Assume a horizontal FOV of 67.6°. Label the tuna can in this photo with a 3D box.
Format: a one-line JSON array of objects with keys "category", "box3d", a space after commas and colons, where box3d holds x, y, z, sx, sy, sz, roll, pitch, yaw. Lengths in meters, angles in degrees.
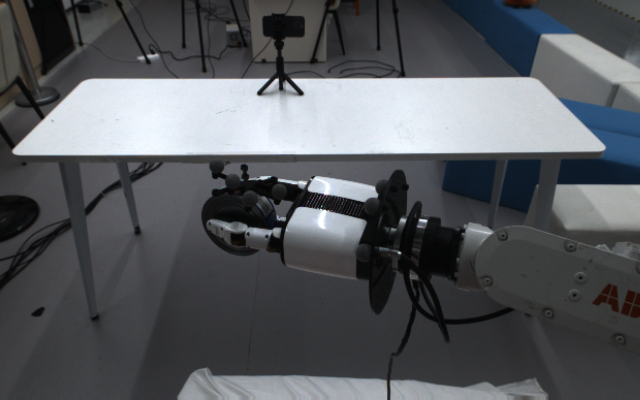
[{"category": "tuna can", "box3d": [-0.095, 0.023, 0.584, 0.085, 0.085, 0.034, 13, 30, 15]}]
